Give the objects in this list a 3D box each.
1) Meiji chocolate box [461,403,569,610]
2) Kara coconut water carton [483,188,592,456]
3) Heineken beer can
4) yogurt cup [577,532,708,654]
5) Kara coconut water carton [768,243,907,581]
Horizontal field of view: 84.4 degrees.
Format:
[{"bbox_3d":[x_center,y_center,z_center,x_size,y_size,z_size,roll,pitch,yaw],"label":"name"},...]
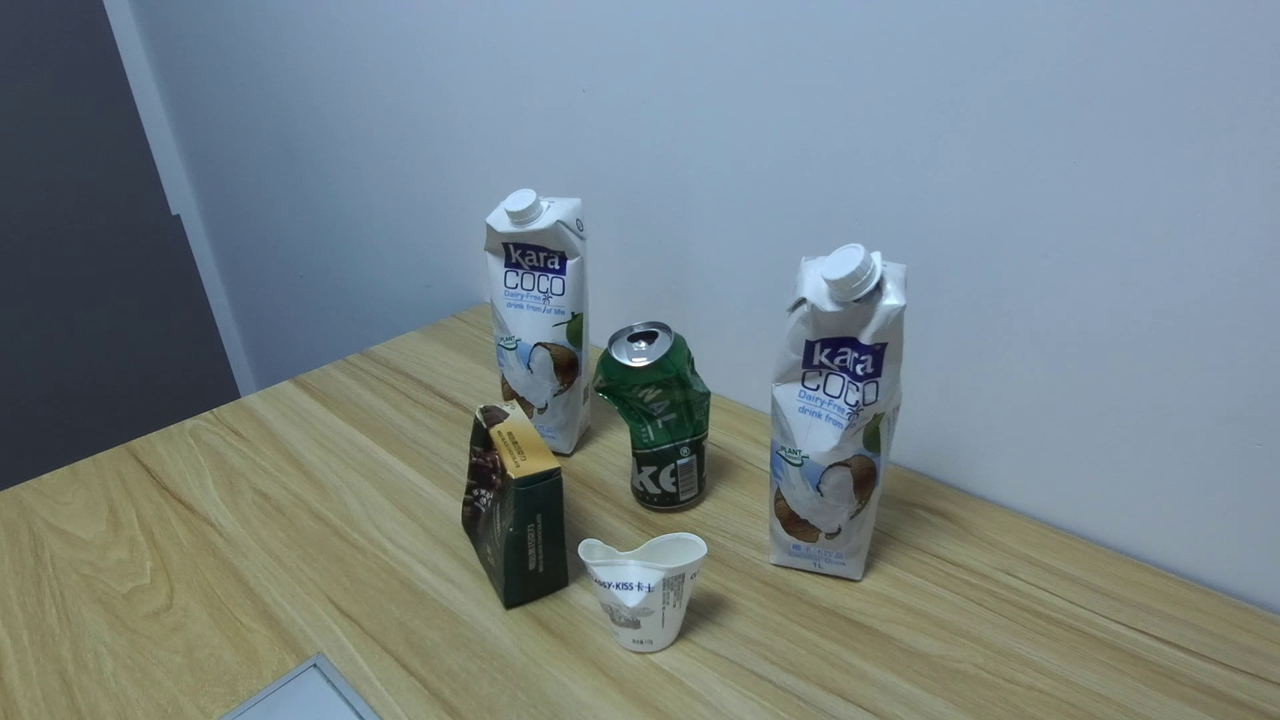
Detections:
[{"bbox_3d":[-0.099,0.105,0.538,0.058,0.111,0.112,-9,28,-27],"label":"Meiji chocolate box"},{"bbox_3d":[-0.088,-0.035,0.650,0.099,0.244,0.071,4,26,15],"label":"Kara coconut water carton"},{"bbox_3d":[0.017,0.047,0.586,0.067,0.159,0.079,20,42,40],"label":"Heineken beer can"},{"bbox_3d":[0.003,0.152,0.477,0.075,0.071,0.053,-15,30,-21],"label":"yogurt cup"},{"bbox_3d":[0.134,0.036,0.492,0.083,0.256,0.078,14,34,27],"label":"Kara coconut water carton"}]
